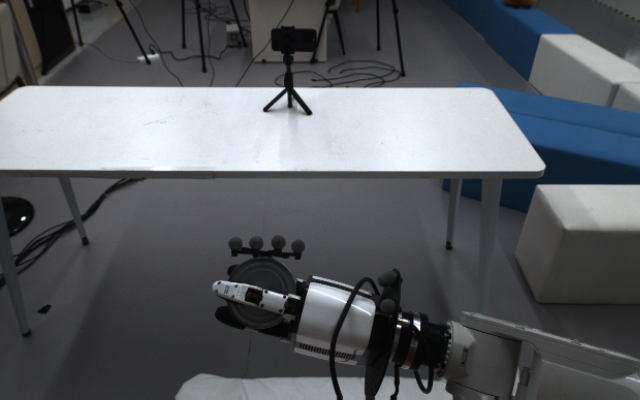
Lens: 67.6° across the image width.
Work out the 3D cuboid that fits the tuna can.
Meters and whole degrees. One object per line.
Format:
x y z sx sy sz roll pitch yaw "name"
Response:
-0.069 0.113 0.595 0.085 0.034 0.085 -1 76 4 "tuna can"
